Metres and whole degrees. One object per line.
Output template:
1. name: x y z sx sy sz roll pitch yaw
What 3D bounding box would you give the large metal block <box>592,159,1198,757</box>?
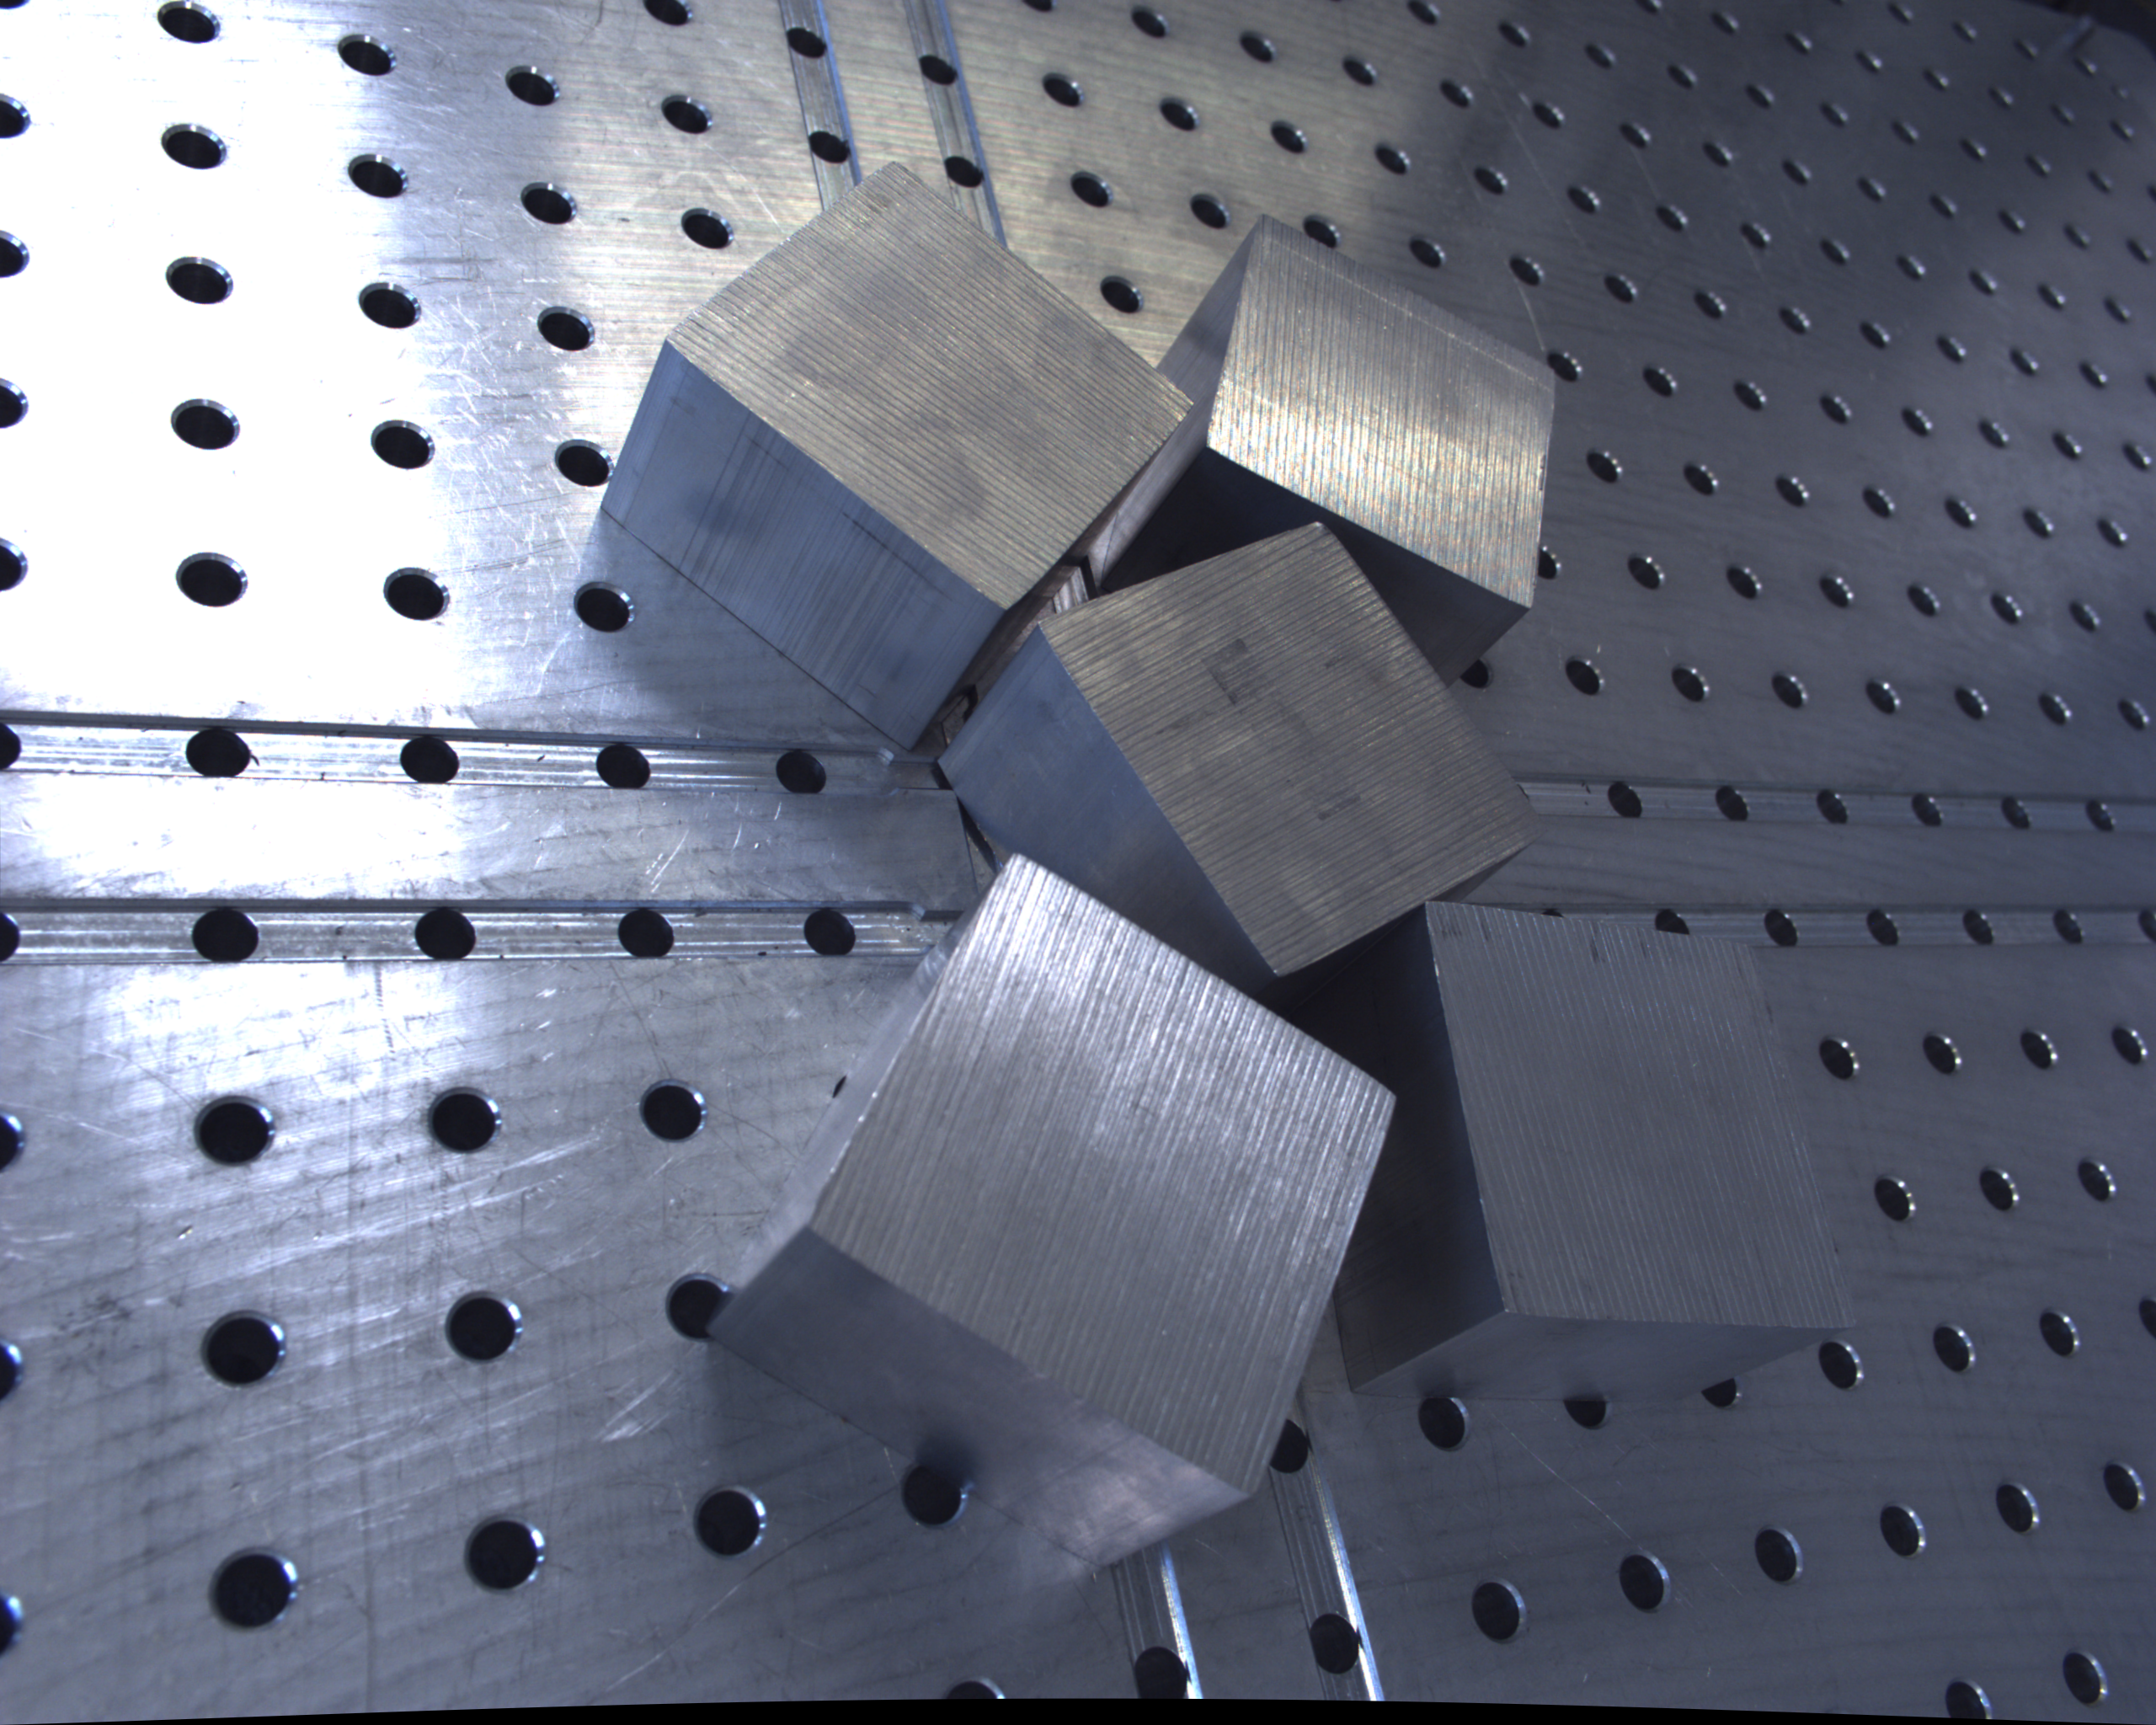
1. large metal block: -0.036 -0.082 0.422 0.080 0.050 0.080 39 51 -1

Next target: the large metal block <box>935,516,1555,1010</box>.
1. large metal block: 0.033 -0.014 0.417 0.081 0.050 0.080 -25 75 -37

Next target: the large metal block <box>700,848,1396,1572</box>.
1. large metal block: -0.003 0.059 0.352 0.080 0.050 0.080 33 51 -7

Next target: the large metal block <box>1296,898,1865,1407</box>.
1. large metal block: 0.094 0.059 0.406 0.081 0.050 0.080 9 58 -24

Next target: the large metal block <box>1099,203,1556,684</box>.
1. large metal block: 0.059 -0.089 0.476 0.080 0.050 0.080 25 53 -16
